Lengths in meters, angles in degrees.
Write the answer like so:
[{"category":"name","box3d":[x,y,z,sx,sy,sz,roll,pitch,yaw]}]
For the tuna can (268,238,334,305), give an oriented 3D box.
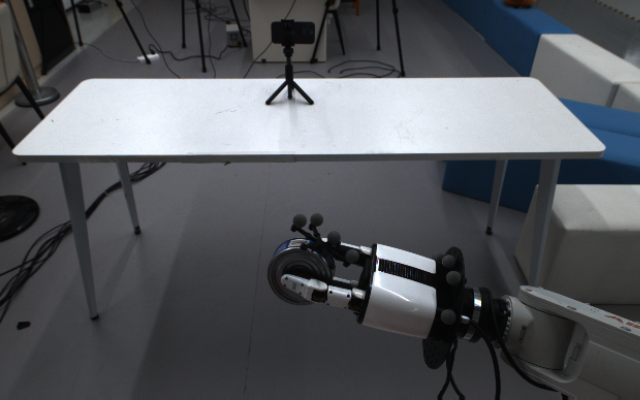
[{"category":"tuna can","box3d":[-0.022,0.093,0.628,0.085,0.085,0.034,6,19,6]}]
